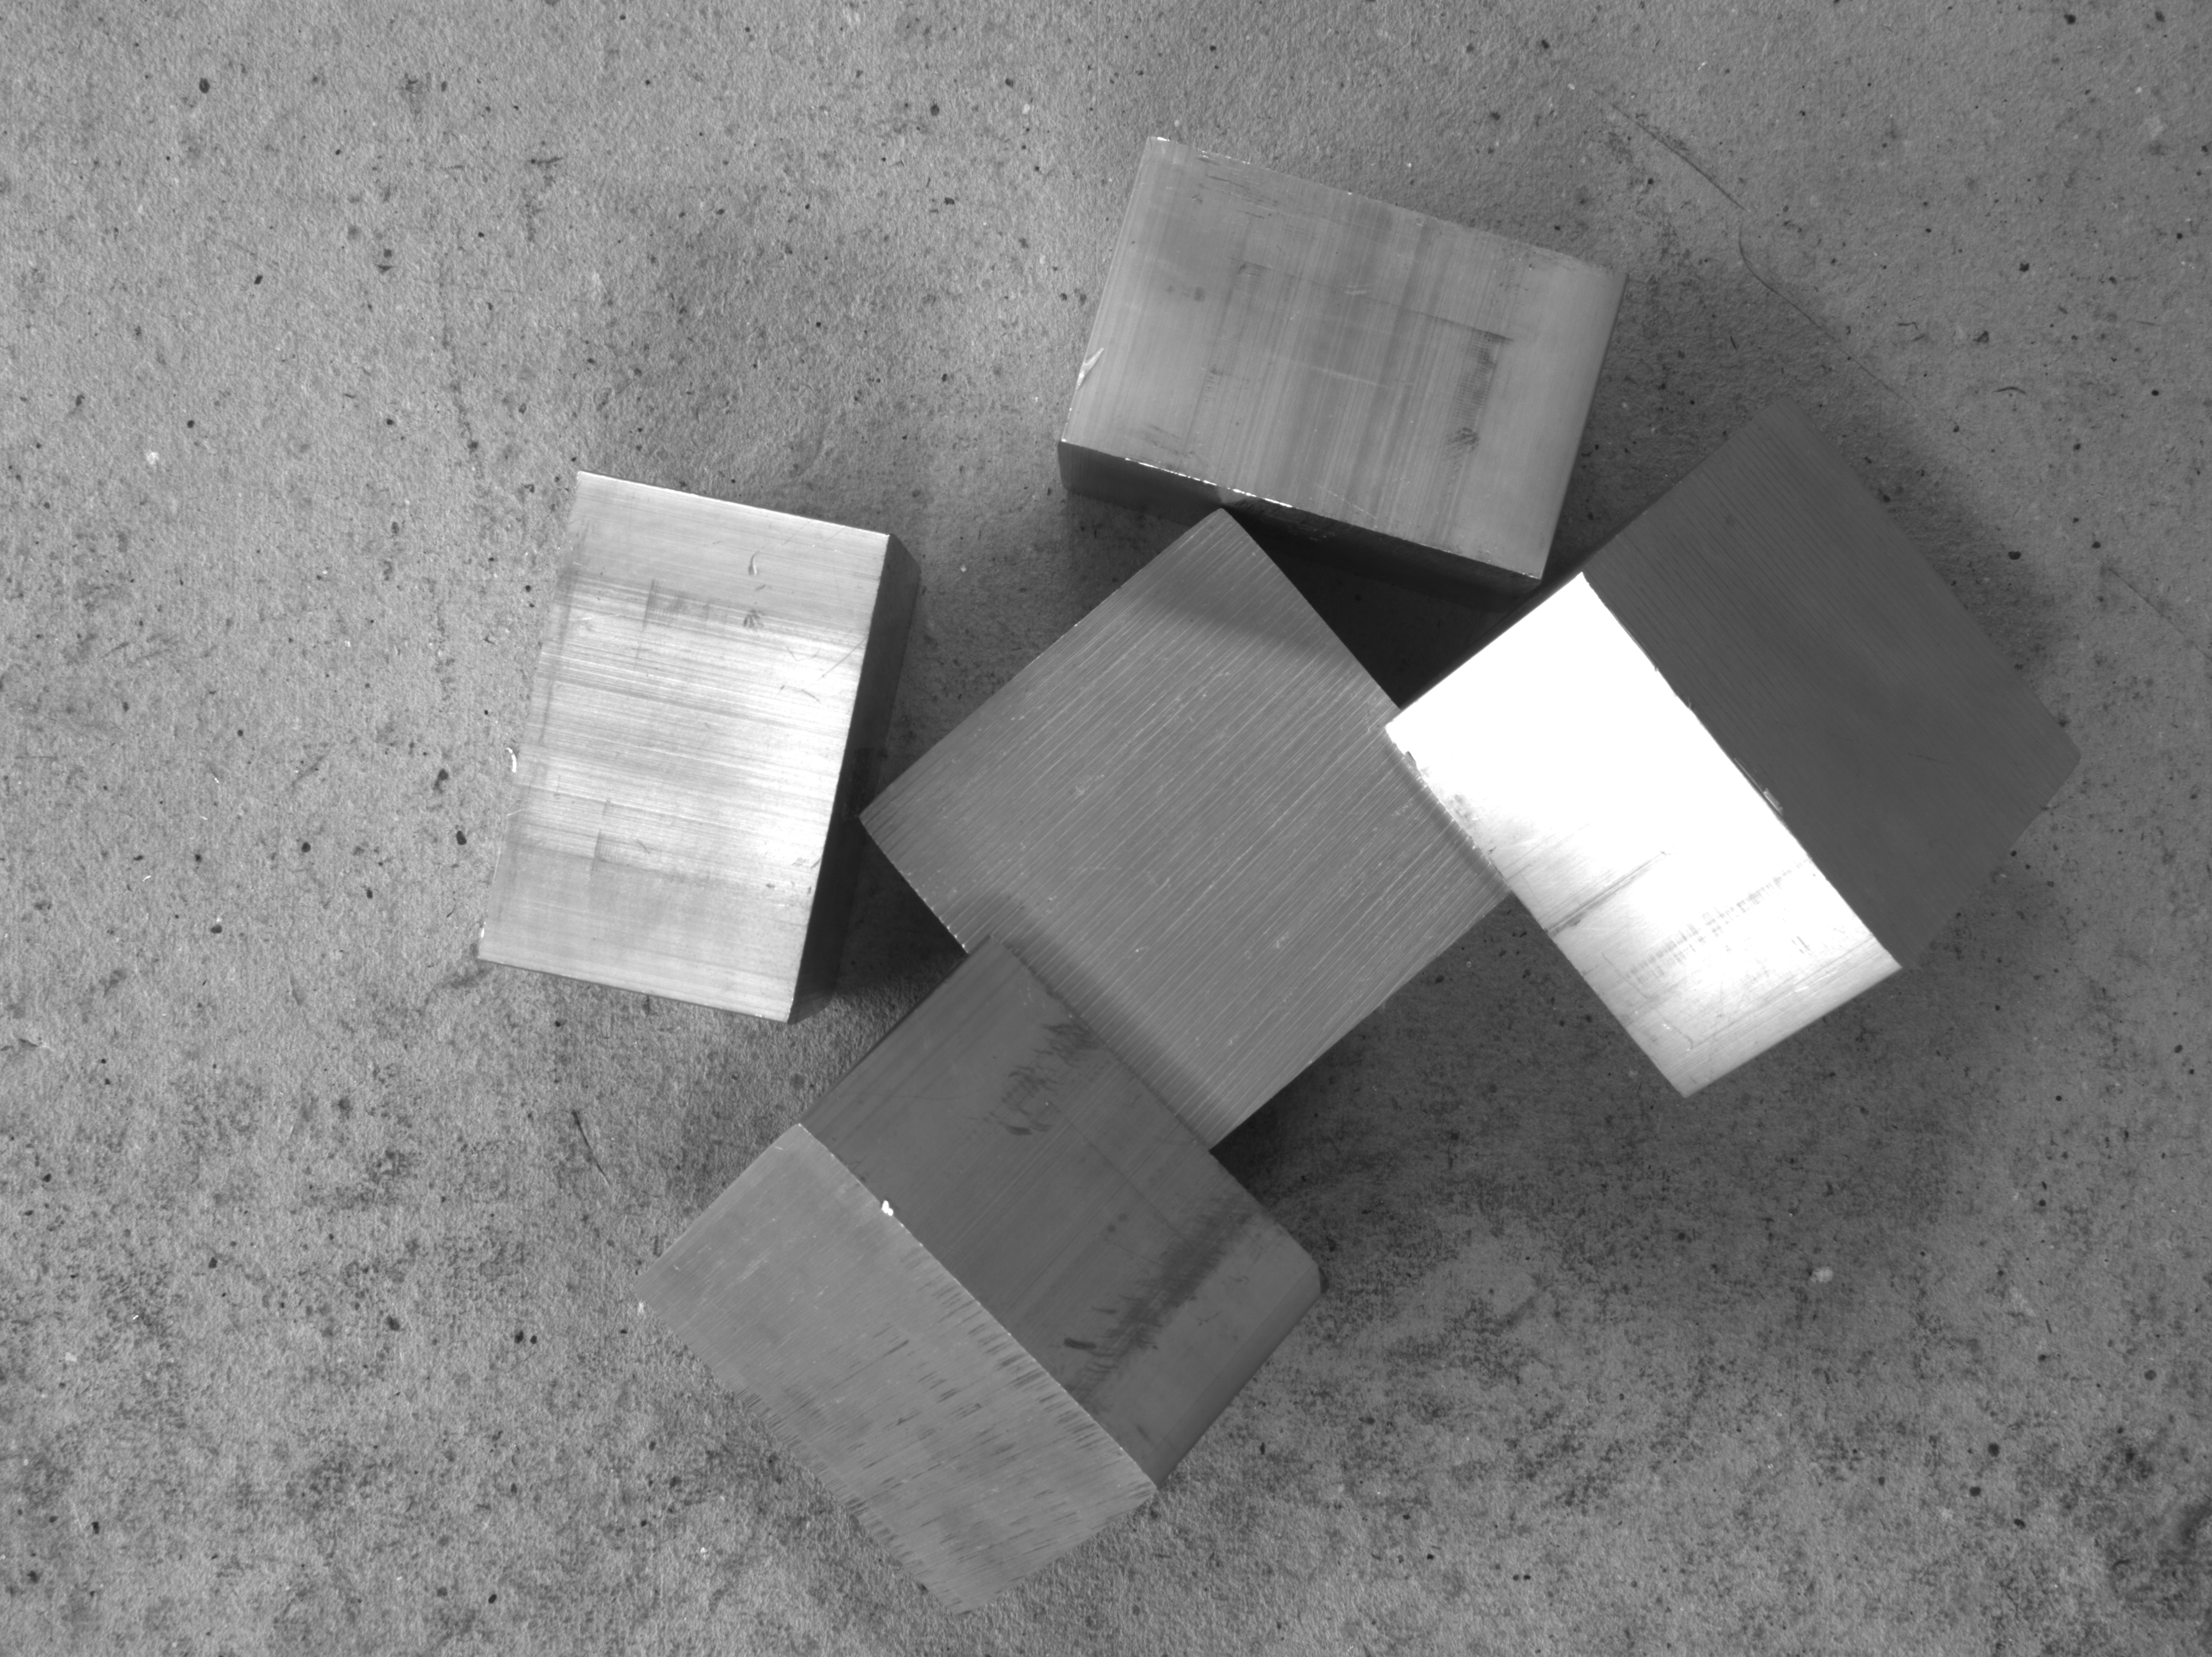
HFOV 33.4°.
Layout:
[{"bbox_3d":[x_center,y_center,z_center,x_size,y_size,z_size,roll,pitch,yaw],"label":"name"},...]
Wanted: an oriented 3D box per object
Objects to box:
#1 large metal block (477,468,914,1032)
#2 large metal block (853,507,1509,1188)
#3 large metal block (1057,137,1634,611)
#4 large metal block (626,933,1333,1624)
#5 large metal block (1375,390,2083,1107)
[{"bbox_3d":[-0.066,-0.013,0.619,0.050,0.080,0.080,12,91,0],"label":"large metal block"},{"bbox_3d":[0.015,0.002,0.632,0.080,0.050,0.080,-41,91,0],"label":"large metal block"},{"bbox_3d":[0.038,-0.073,0.619,0.080,0.080,0.050,16,90,0],"label":"large metal block"},{"bbox_3d":[-0.023,0.076,0.612,0.080,0.080,0.050,46,53,0],"label":"large metal block"},{"bbox_3d":[0.105,-0.014,0.612,0.080,0.080,0.050,51,134,0],"label":"large metal block"}]
